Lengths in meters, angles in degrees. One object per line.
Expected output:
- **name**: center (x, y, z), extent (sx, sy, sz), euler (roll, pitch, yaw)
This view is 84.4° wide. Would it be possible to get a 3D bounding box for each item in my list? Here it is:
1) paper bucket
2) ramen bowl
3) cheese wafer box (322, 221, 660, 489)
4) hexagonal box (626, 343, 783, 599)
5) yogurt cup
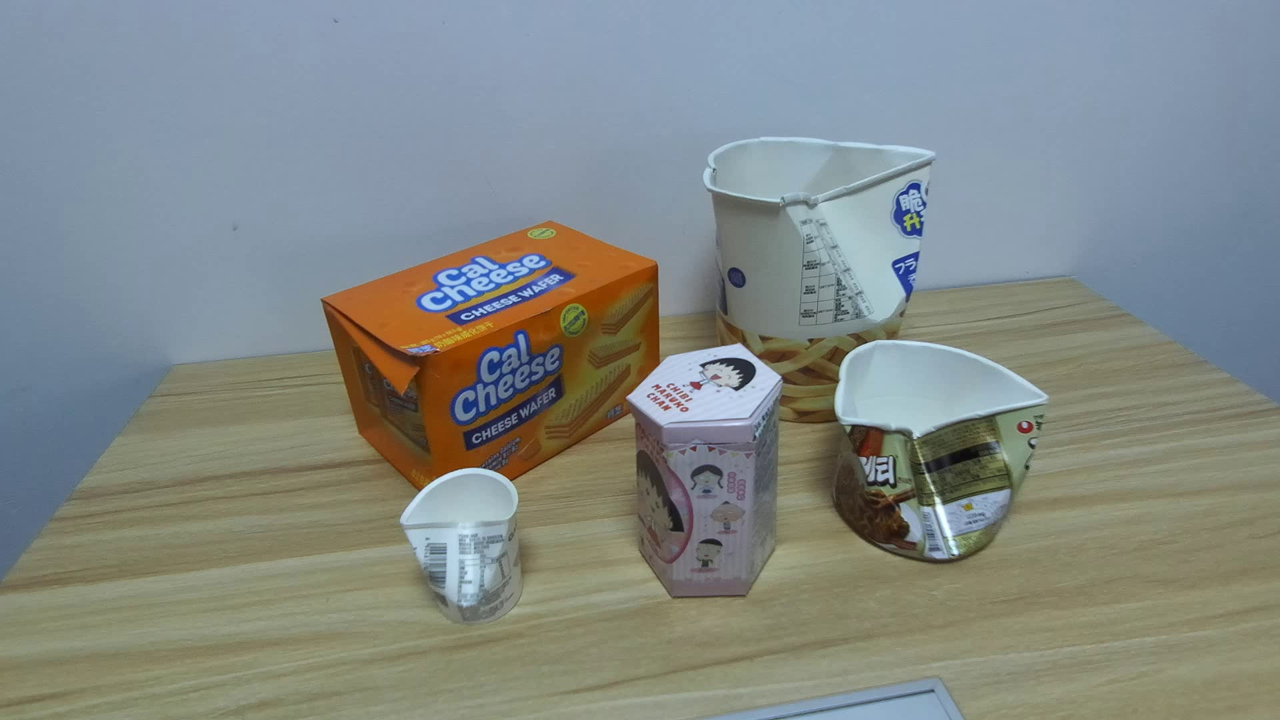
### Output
- **paper bucket**: center (0.136, -0.063, 0.584), extent (0.168, 0.202, 0.163), euler (10, 35, 24)
- **ramen bowl**: center (0.195, 0.057, 0.482), extent (0.137, 0.098, 0.137), euler (-1, 31, 1)
- **cheese wafer box**: center (-0.110, -0.010, 0.573), extent (0.228, 0.137, 0.149), euler (-27, 39, -35)
- **hexagonal box**: center (0.043, 0.069, 0.432), extent (0.085, 0.135, 0.091), euler (-17, 34, -20)
- **yogurt cup**: center (-0.102, 0.114, 0.430), extent (0.067, 0.070, 0.067), euler (-3, 30, 2)
